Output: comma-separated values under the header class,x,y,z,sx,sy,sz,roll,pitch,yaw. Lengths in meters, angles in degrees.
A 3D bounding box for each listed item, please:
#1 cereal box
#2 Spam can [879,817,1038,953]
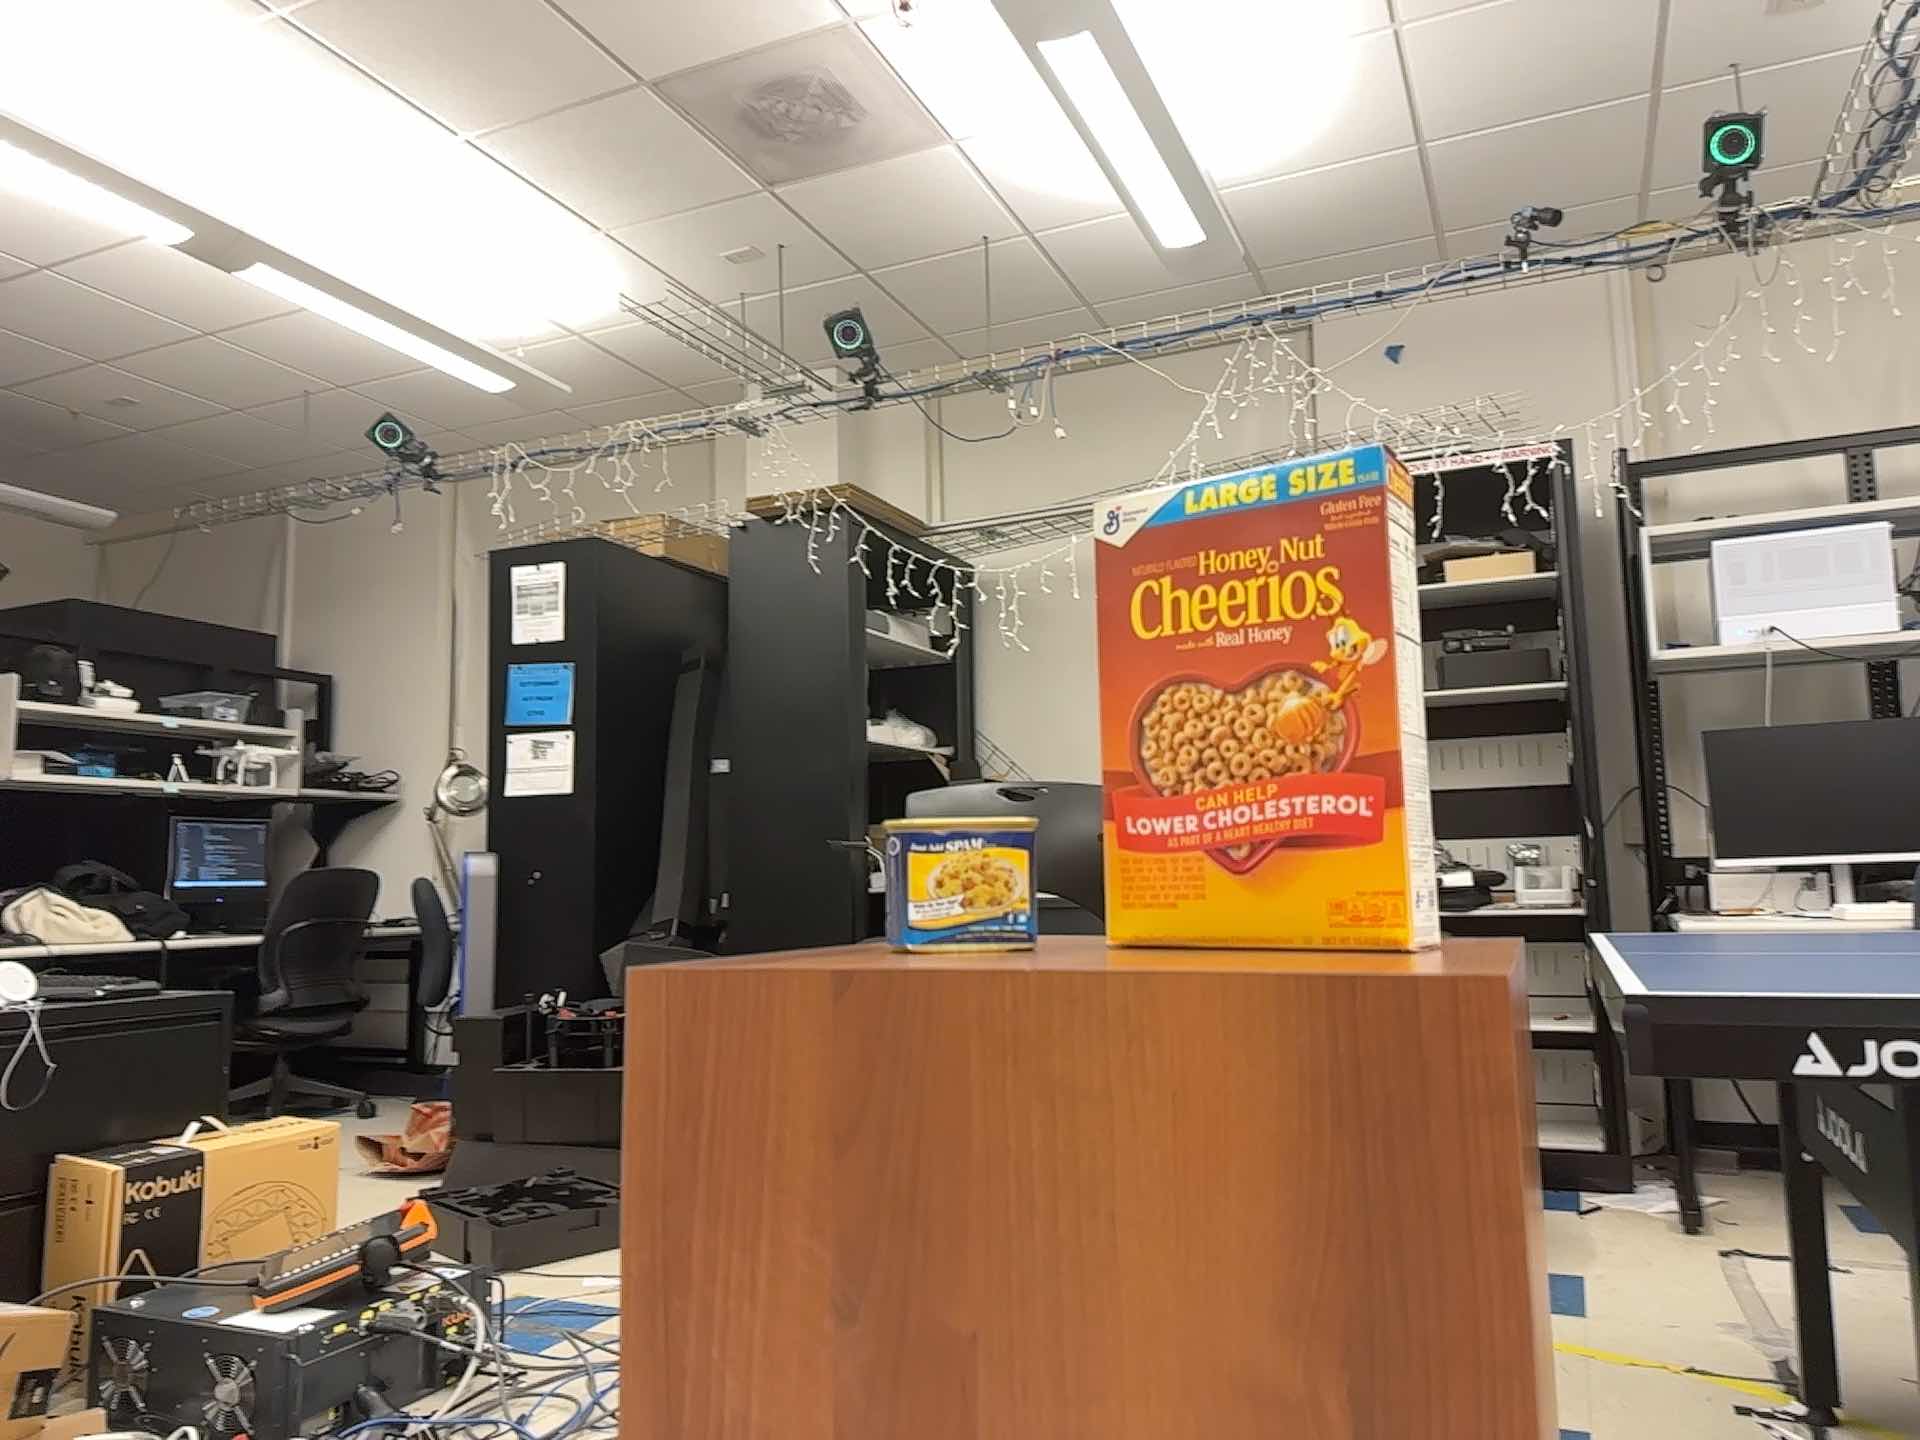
class,x,y,z,sx,sy,sz,roll,pitch,yaw
cereal box,0.194,-0.007,0.887,0.195,0.297,0.065,-6,-11,32
Spam can,-0.001,0.108,0.881,0.100,0.083,0.056,1,-10,-14
